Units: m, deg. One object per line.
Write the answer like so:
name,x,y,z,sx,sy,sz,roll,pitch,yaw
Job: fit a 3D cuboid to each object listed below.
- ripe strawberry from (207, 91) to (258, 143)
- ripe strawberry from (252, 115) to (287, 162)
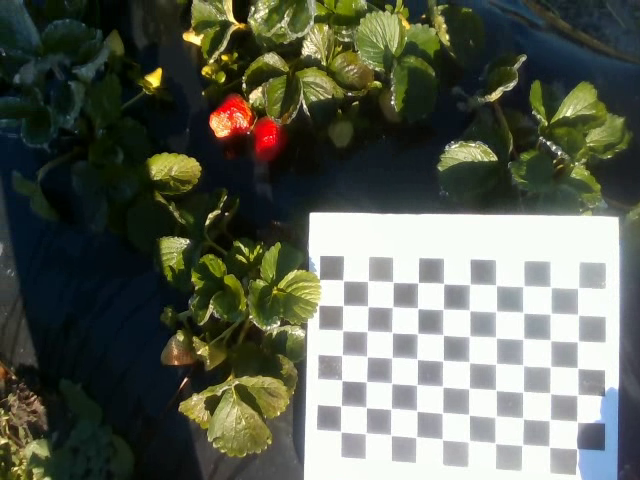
ripe strawberry,-0.113,-0.152,0.727,0.070,0.053,0.040,-43,0,-2
ripe strawberry,-0.067,-0.128,0.710,0.043,0.059,0.040,1,-6,9
